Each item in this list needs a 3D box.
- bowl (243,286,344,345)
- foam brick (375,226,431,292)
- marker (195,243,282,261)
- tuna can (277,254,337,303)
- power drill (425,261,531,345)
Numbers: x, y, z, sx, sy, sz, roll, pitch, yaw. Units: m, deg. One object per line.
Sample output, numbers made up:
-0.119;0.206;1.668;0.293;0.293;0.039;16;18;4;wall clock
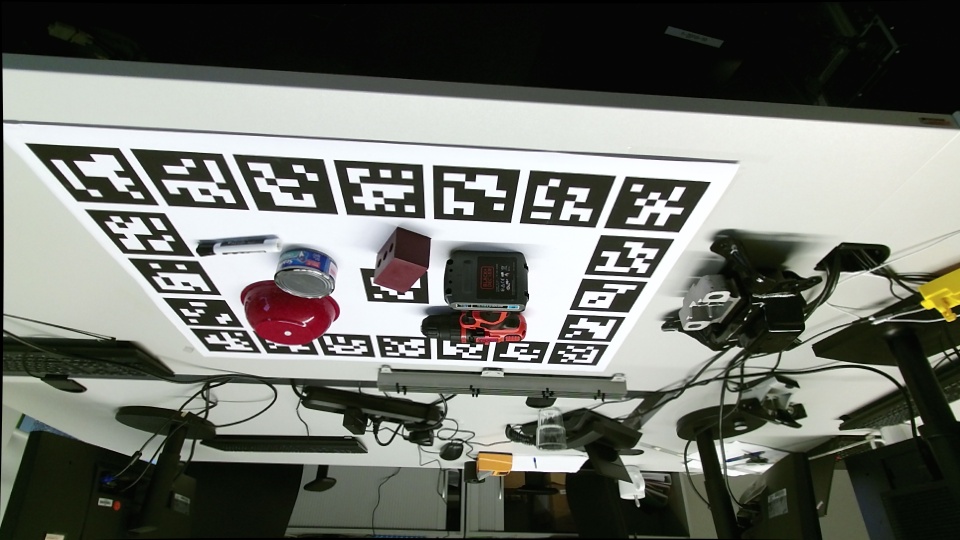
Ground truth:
-0.313;0.085;0.895;0.162;0.055;0.162;-2;152;-1;bowl
-0.108;-0.014;0.744;0.051;0.052;0.078;18;141;-21;foam brick
-0.339;-0.025;0.748;0.121;0.019;0.020;-3;144;6;marker
-0.256;0.013;0.790;0.086;0.033;0.086;2;145;2;tuna can
0.002;0.059;0.839;0.185;0.057;0.187;4;148;1;power drill
